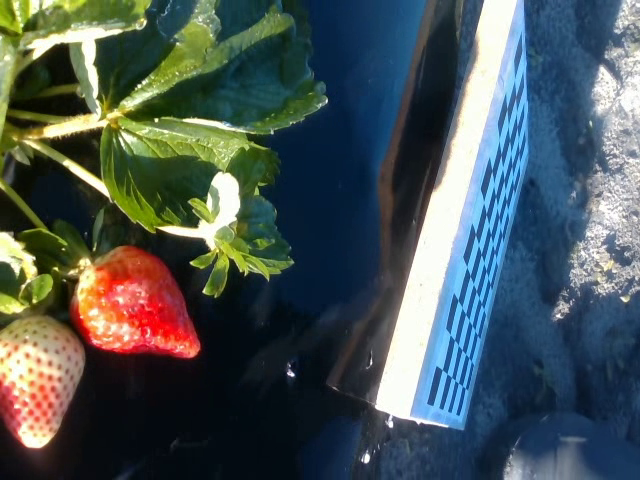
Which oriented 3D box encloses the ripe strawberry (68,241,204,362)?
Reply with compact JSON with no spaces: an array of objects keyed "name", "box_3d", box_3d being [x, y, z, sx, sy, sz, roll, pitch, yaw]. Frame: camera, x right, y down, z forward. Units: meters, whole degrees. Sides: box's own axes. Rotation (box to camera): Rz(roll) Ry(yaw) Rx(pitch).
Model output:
[{"name":"ripe strawberry","box_3d":[-0.057,0.026,0.209,0.055,0.040,0.037,40,15,16]}]
